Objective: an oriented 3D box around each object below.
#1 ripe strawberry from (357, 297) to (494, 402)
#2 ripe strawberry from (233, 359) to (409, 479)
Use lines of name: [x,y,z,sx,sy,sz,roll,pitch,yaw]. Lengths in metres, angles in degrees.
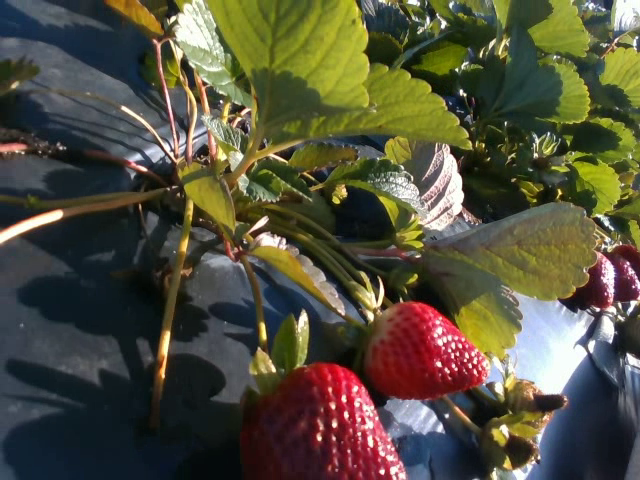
ripe strawberry: [0.040,0.043,0.226,0.049,0.042,0.039,16,-31,12]
ripe strawberry: [0.005,0.057,0.164,0.050,0.044,0.050,25,5,33]
